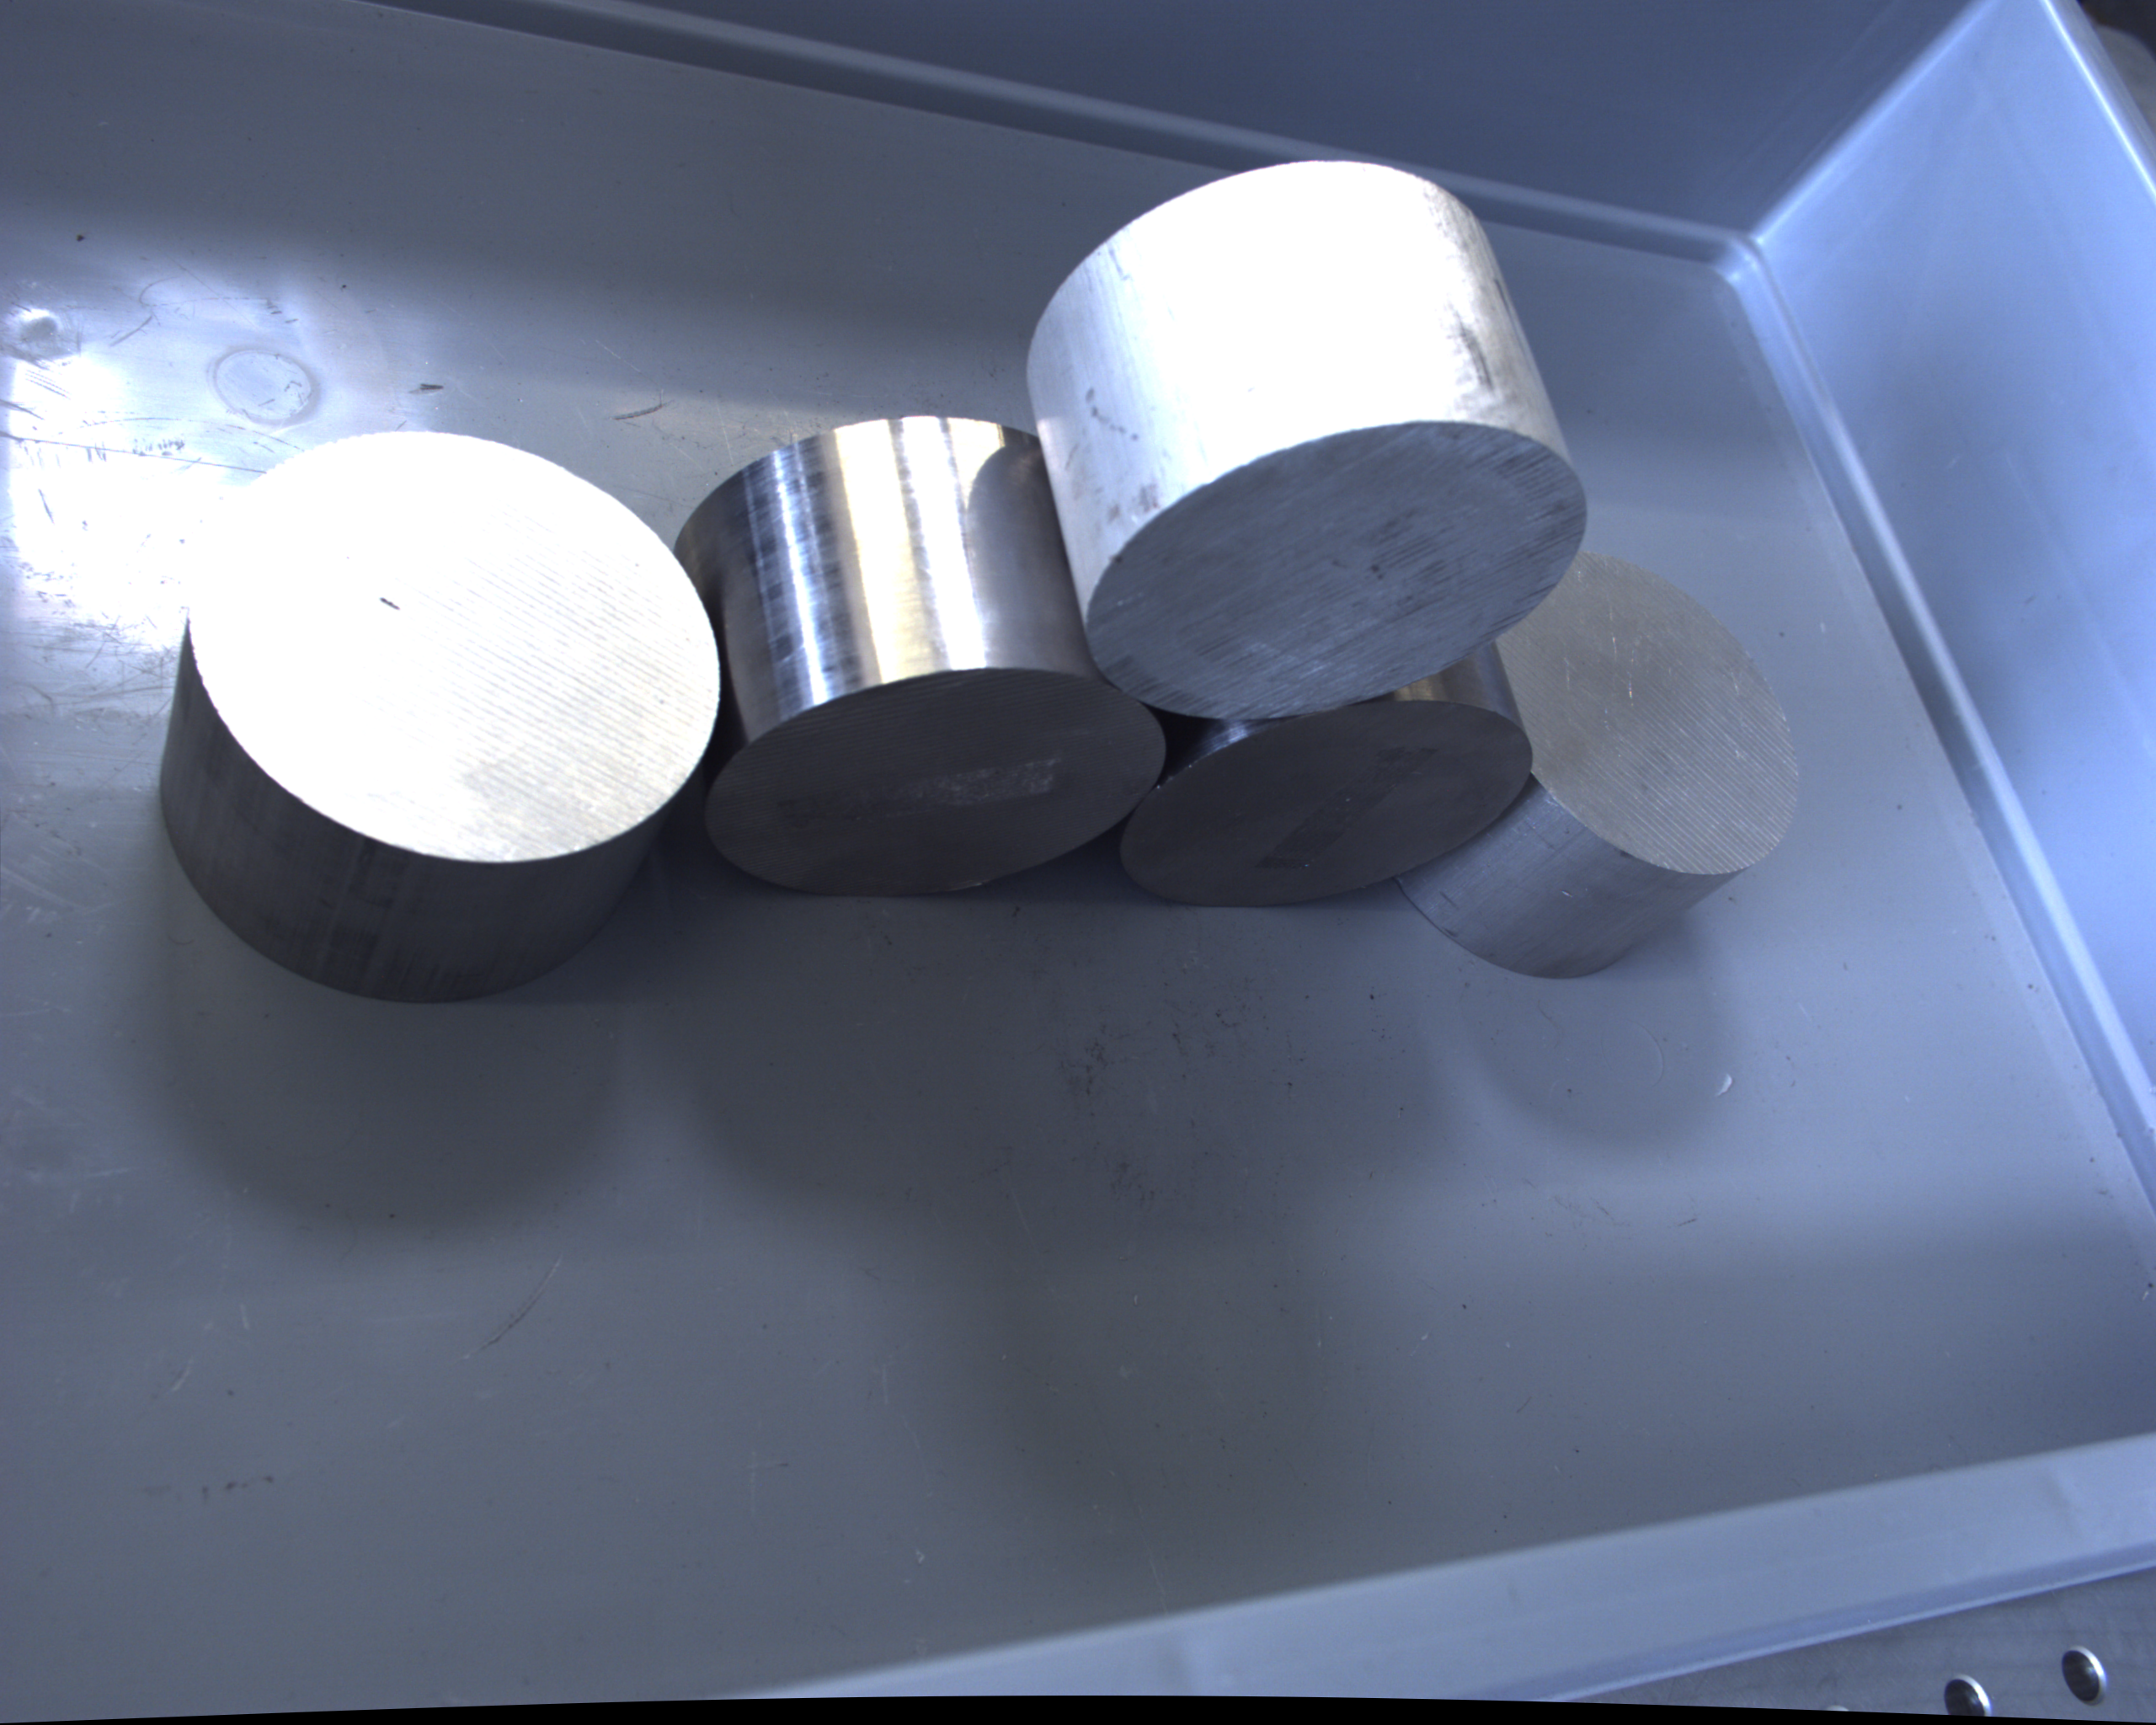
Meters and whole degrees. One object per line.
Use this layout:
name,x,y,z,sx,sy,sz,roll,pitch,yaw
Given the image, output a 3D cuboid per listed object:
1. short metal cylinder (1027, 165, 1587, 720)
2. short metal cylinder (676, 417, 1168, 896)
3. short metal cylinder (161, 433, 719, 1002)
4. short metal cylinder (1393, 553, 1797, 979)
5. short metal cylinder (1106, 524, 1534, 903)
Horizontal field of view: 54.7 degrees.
short metal cylinder,0.036,-0.065,0.339,0.081,0.080,0.050,2,61,-28
short metal cylinder,-0.029,-0.034,0.373,0.081,0.080,0.050,2,61,-28
short metal cylinder,-0.106,-0.023,0.345,0.081,0.050,0.080,14,56,-21
short metal cylinder,0.109,-0.021,0.458,0.081,0.050,0.080,14,56,-21
short metal cylinder,0.043,-0.032,0.411,0.081,0.080,0.050,2,61,-28
